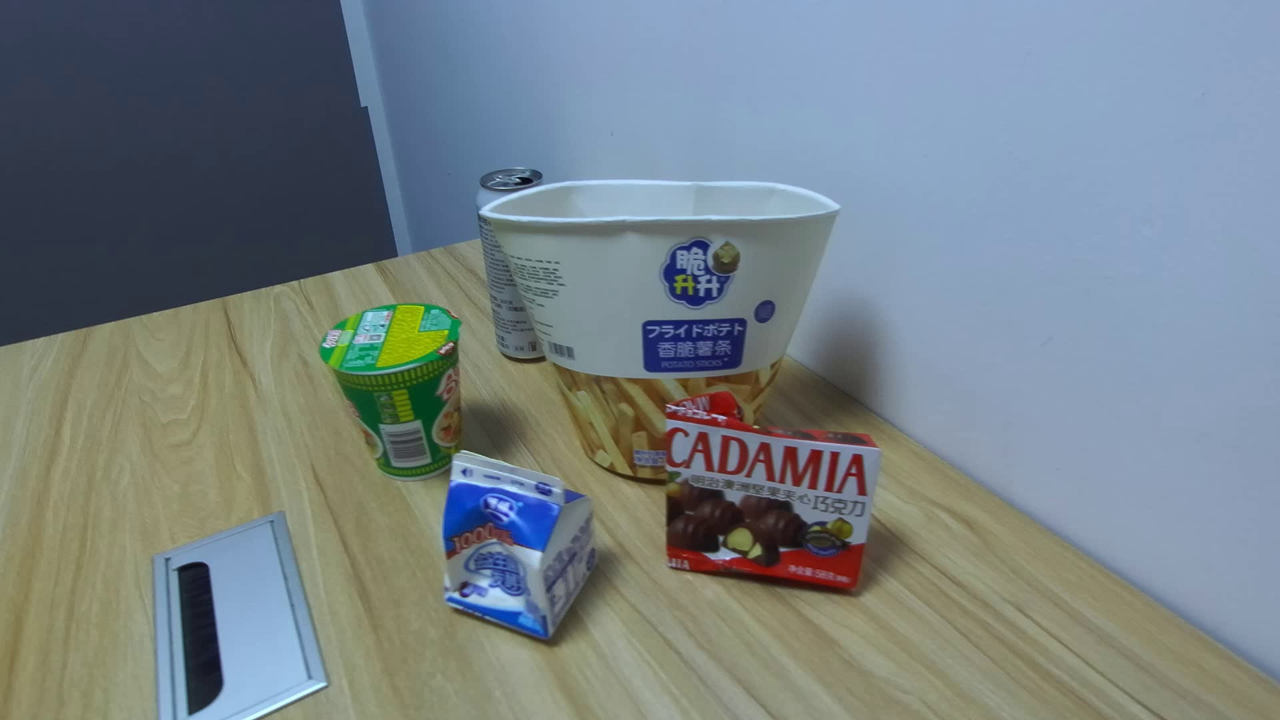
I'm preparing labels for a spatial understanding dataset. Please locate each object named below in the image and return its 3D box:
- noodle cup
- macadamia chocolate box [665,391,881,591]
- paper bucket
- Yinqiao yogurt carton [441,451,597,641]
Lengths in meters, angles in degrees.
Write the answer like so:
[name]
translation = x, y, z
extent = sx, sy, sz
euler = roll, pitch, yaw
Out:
[noodle cup]
translation = -0.176, 0.028, 0.533
extent = 0.097, 0.110, 0.097
euler = 0, 32, 1
[macadamia chocolate box]
translation = 0.079, 0.080, 0.438
extent = 0.126, 0.112, 0.056
euler = 6, 32, 12
[paper bucket]
translation = 0.016, -0.030, 0.530
extent = 0.218, 0.199, 0.147
euler = -16, 36, -21
[Yinqiao yogurt carton]
translation = -0.074, 0.102, 0.429
extent = 0.077, 0.094, 0.071
euler = 11, 28, 18
